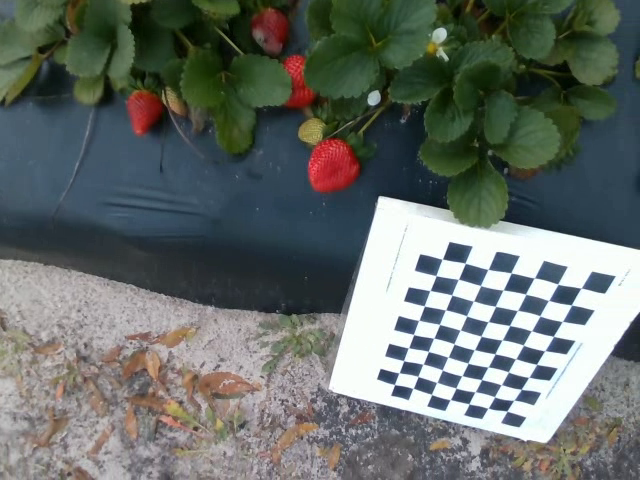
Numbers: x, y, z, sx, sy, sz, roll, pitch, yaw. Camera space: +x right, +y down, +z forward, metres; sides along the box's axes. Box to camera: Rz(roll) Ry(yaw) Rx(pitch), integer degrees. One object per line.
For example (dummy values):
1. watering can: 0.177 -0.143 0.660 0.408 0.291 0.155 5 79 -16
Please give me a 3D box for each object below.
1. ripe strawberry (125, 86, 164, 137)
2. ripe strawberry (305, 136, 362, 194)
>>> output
1. ripe strawberry: -0.181 -0.134 0.612 0.043 0.052 0.041 1 -8 17
2. ripe strawberry: 0.008 -0.070 0.606 0.057 0.056 0.065 -9 38 40
